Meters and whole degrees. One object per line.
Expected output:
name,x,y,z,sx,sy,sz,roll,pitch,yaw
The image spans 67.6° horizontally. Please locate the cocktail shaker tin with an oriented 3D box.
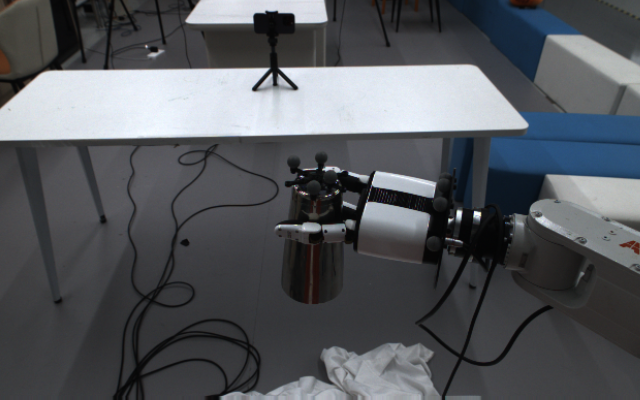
cocktail shaker tin,-0.005,0.048,0.676,0.093,0.170,0.093,2,33,-2
